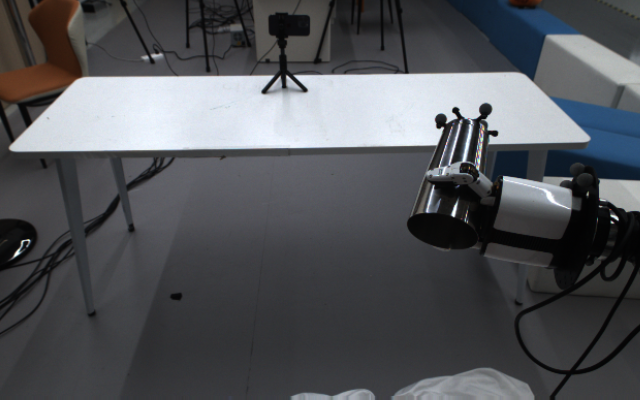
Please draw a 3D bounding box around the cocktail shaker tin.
[{"bbox_3d":[0.184,-0.029,0.665,0.093,0.093,0.170,13,60,16],"label":"cocktail shaker tin"}]
